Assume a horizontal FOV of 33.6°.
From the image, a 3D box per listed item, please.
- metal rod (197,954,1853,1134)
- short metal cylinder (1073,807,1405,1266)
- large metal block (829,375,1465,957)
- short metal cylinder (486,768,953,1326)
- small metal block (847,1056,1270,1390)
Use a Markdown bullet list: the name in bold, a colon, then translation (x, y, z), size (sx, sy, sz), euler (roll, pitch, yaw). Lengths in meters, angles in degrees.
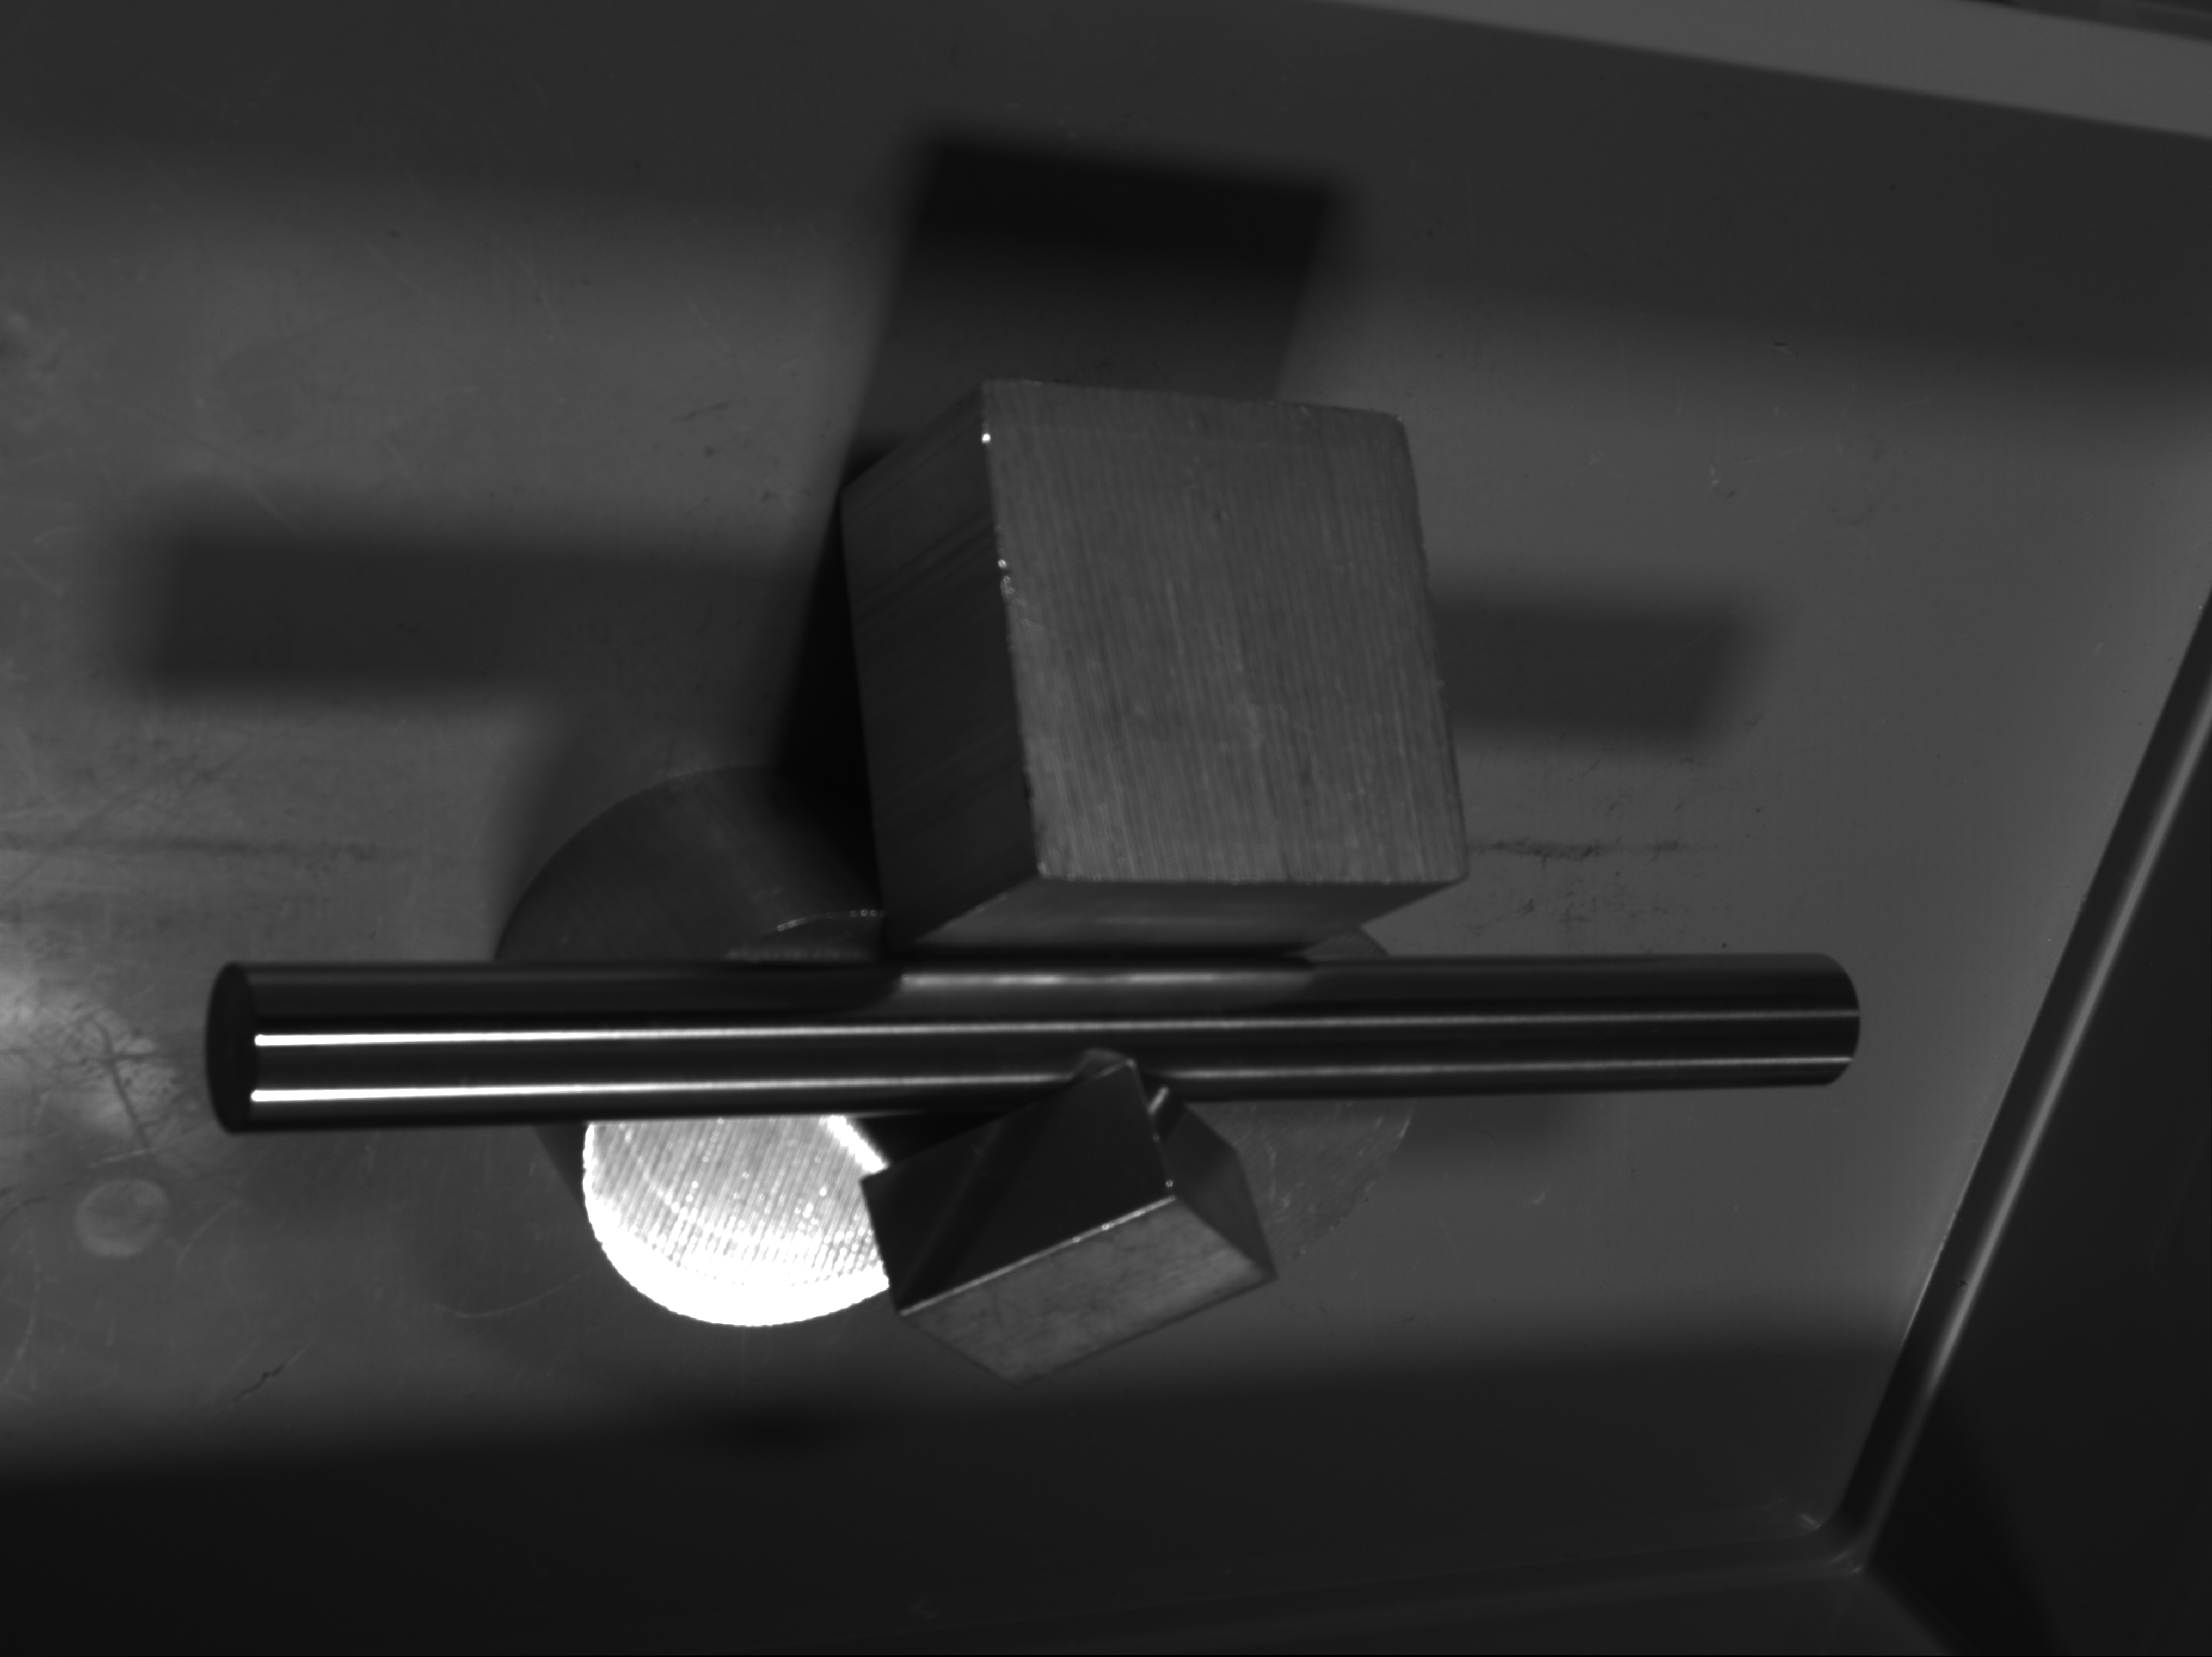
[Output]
- **metal rod**: translation (0.002, 0.034, 0.606), size (0.301, 0.025, 0.025), euler (1, 118, -31)
- **short metal cylinder**: translation (0.009, 0.038, 0.662), size (0.080, 0.050, 0.080), euler (-15, 125, -22)
- **large metal block**: translation (0.006, -0.024, 0.595), size (0.080, 0.050, 0.080), euler (1, 74, -31)
- **short metal cylinder**: translation (-0.060, 0.037, 0.621), size (0.080, 0.050, 0.080), euler (-15, 125, -22)
- **small metal block**: translation (-0.007, 0.066, 0.607), size (0.050, 0.025, 0.050), euler (-25, 151, 12)
